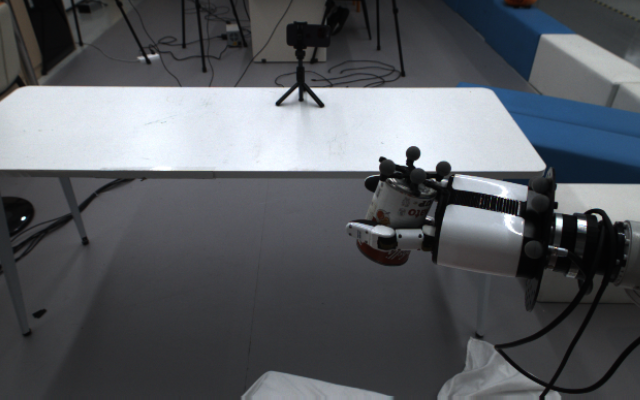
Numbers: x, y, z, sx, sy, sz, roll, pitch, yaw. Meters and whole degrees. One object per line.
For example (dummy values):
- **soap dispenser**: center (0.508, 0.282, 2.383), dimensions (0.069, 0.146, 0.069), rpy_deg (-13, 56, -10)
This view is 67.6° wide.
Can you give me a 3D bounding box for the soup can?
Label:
- **soup can**: center (0.092, 0.019, 0.573), dimensions (0.067, 0.101, 0.067), rpy_deg (13, 30, -8)
